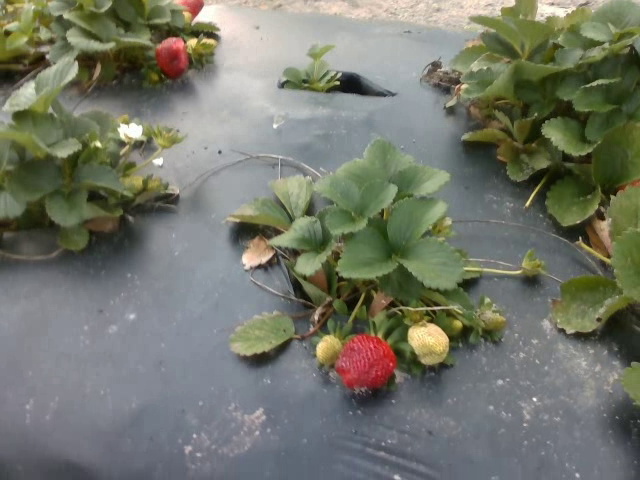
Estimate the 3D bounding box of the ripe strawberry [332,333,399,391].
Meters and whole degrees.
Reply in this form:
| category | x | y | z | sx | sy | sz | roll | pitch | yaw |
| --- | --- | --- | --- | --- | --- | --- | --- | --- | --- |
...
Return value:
| category | x | y | z | sx | sy | sz | roll | pitch | yaw |
| --- | --- | --- | --- | --- | --- | --- | --- | --- | --- |
| ripe strawberry | 0.030 | 0.093 | 0.457 | 0.046 | 0.046 | 0.059 | 9 | 17 | 26 |
